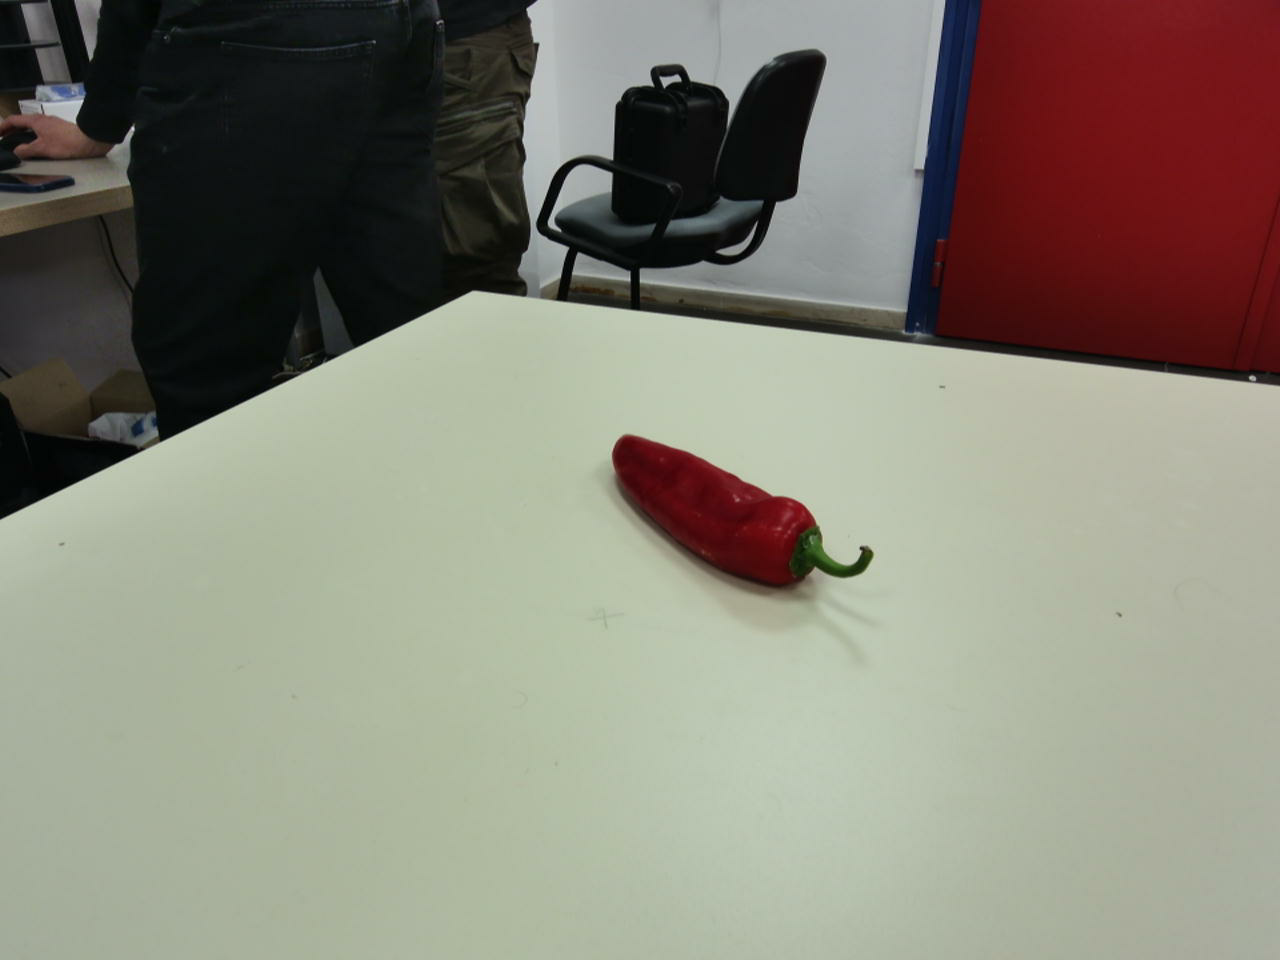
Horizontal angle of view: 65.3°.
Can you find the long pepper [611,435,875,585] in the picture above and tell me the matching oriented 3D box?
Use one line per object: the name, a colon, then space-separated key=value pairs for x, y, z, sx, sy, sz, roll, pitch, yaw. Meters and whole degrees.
long pepper: x=0.040 y=0.013 z=0.539 sx=0.050 sy=0.043 sz=0.211 roll=-16 pitch=29 yaw=-30
